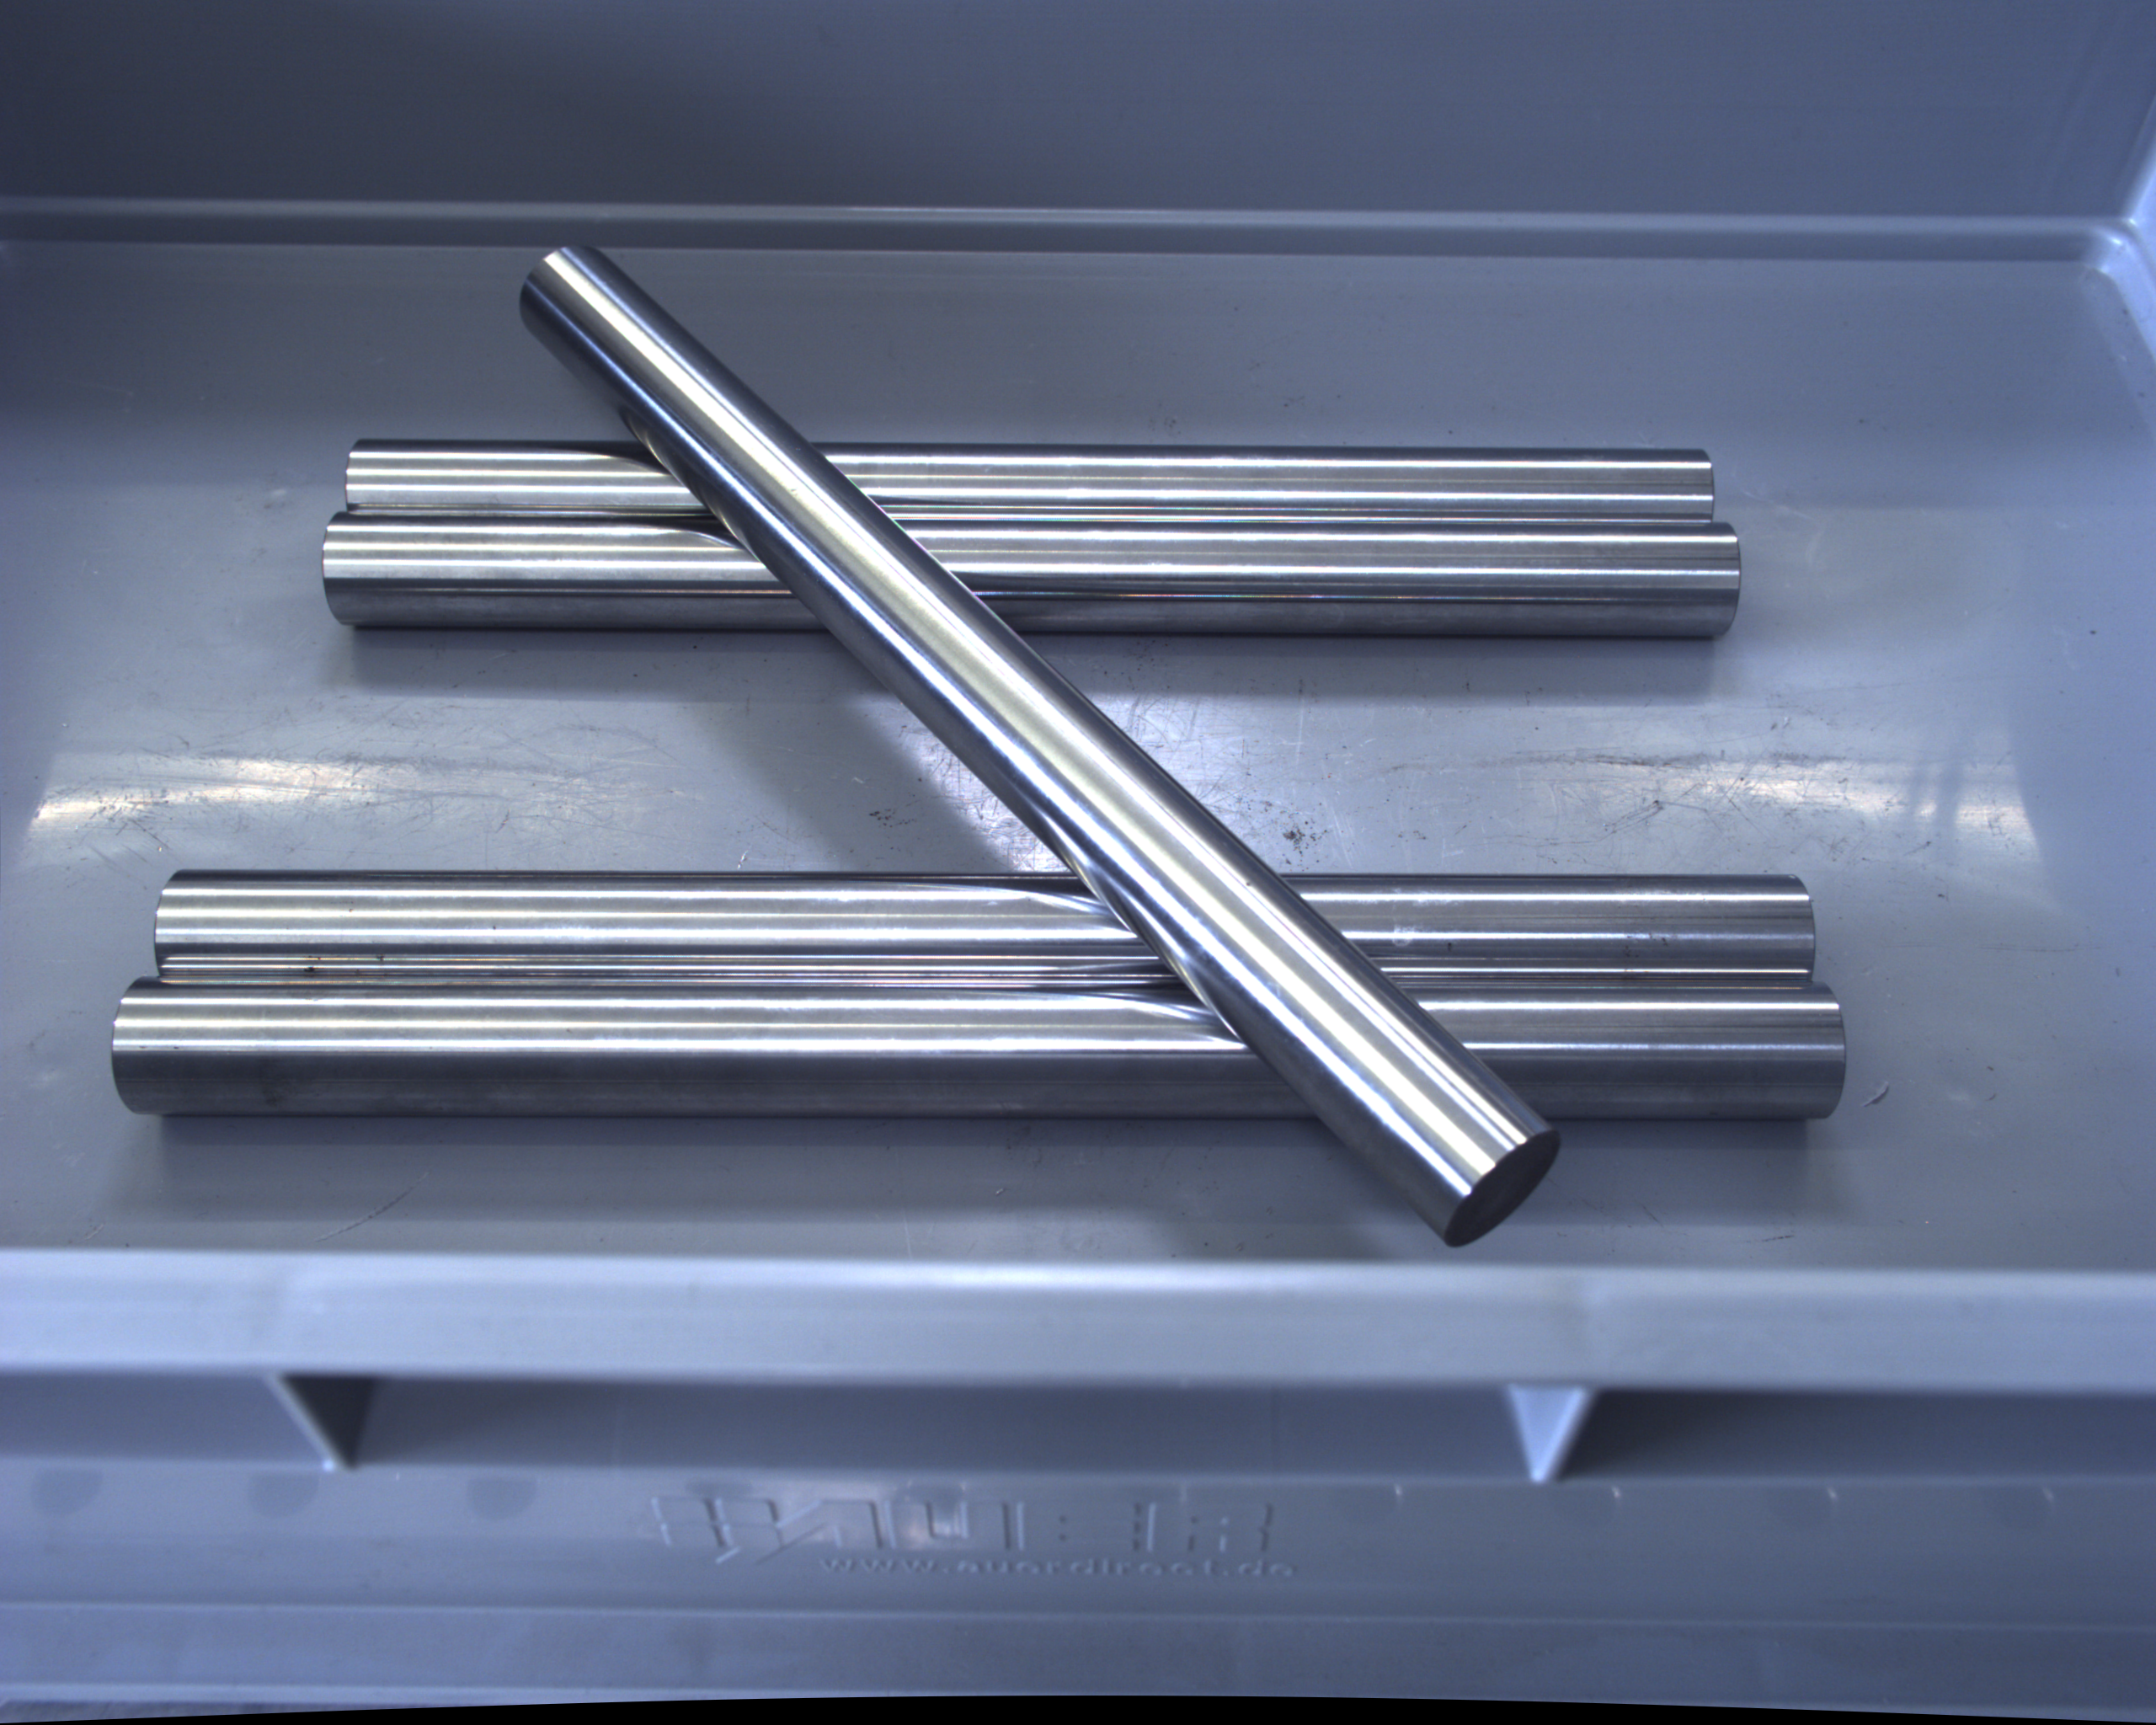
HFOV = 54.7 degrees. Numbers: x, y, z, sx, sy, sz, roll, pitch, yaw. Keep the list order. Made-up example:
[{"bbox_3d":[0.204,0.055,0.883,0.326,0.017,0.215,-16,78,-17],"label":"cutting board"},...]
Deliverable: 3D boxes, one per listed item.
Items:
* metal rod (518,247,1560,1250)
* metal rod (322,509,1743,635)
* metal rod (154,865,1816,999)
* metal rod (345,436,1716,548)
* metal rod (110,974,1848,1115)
[{"bbox_3d":[-0.025,-0.039,0.404,0.025,0.025,0.300,-31,57,-23],"label":"metal rod"},{"bbox_3d":[-0.010,-0.063,0.456,0.302,0.025,0.025,1,50,0],"label":"metal rod"},{"bbox_3d":[-0.017,0.013,0.391,0.302,0.025,0.025,0,50,0],"label":"metal rod"},{"bbox_3d":[-0.010,-0.082,0.472,0.302,0.025,0.025,1,50,0],"label":"metal rod"},{"bbox_3d":[-0.017,0.033,0.375,0.302,0.025,0.025,0,50,0],"label":"metal rod"}]
